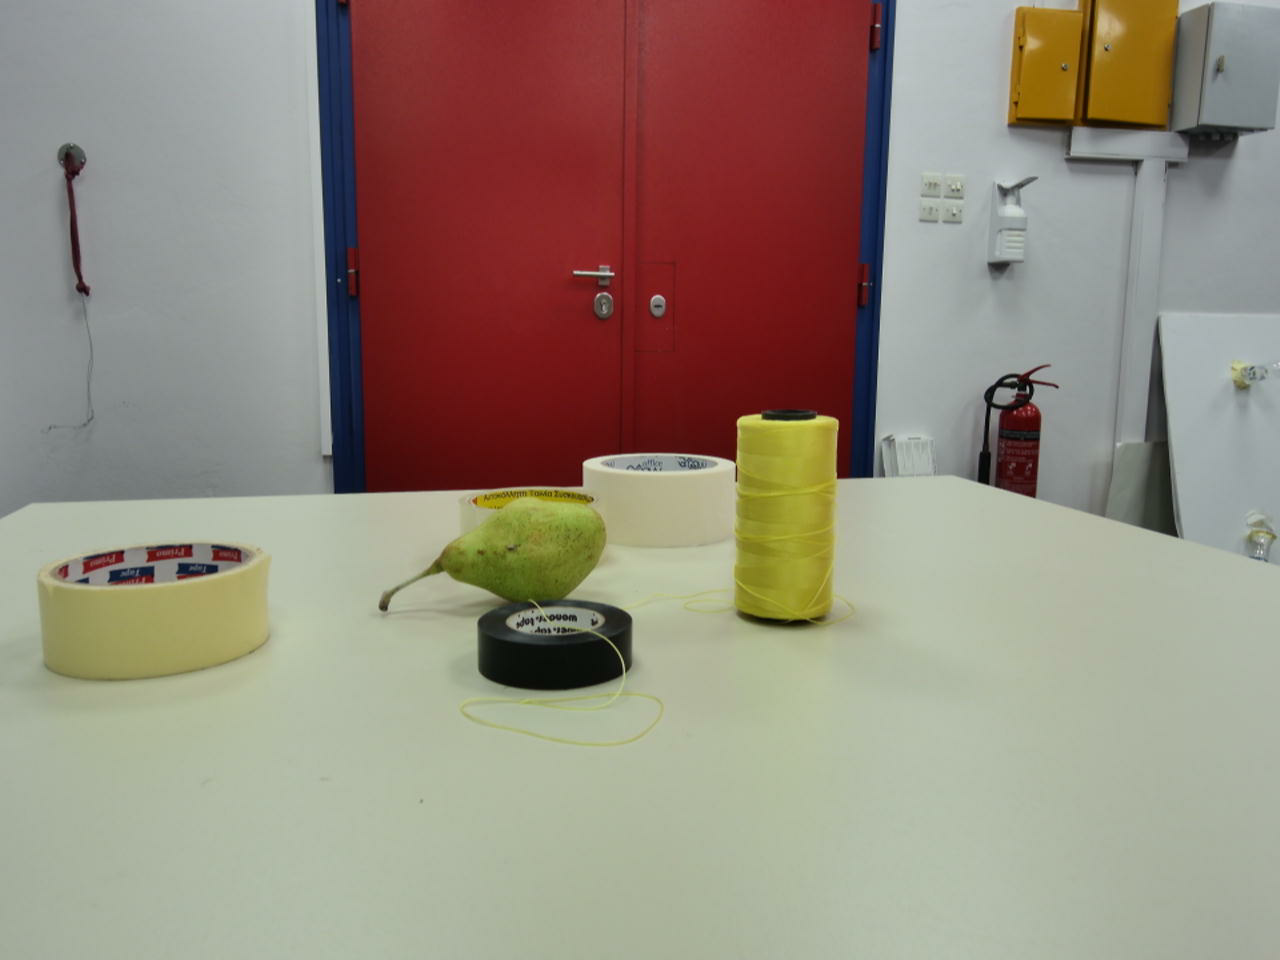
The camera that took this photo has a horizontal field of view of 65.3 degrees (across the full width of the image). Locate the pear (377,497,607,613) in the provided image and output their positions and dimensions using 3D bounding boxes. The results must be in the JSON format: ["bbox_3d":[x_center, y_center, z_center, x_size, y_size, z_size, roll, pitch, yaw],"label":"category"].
[{"bbox_3d":[-0.073,0.037,0.517,0.111,0.056,0.056,0,6,2],"label":"pear"}]
